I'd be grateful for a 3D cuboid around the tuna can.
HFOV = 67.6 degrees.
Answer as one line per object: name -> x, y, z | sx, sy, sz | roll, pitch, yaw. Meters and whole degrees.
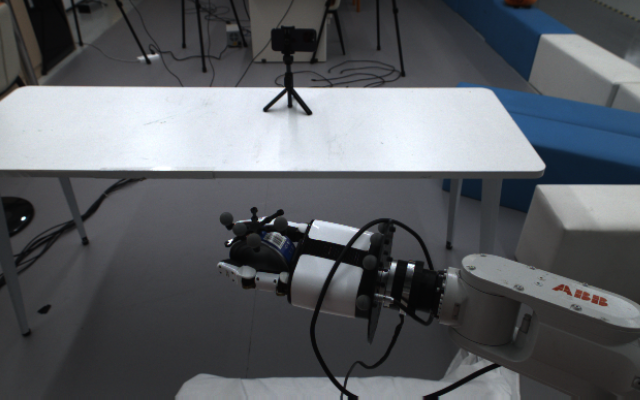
tuna can -> -0.071, 0.074, 0.639 | 0.085, 0.085, 0.034 | 14, 40, 16
